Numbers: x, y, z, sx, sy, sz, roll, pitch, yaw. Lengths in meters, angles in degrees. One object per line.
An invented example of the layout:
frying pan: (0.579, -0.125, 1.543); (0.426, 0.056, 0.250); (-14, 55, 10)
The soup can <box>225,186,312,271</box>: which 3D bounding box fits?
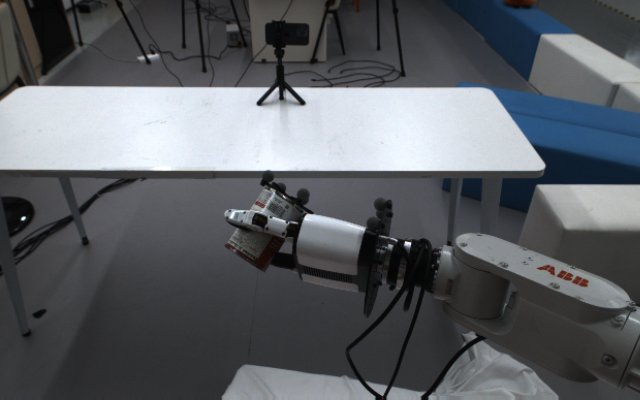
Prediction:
soup can: (-0.077, 0.042, 0.681); (0.067, 0.067, 0.101); (27, 78, 31)
